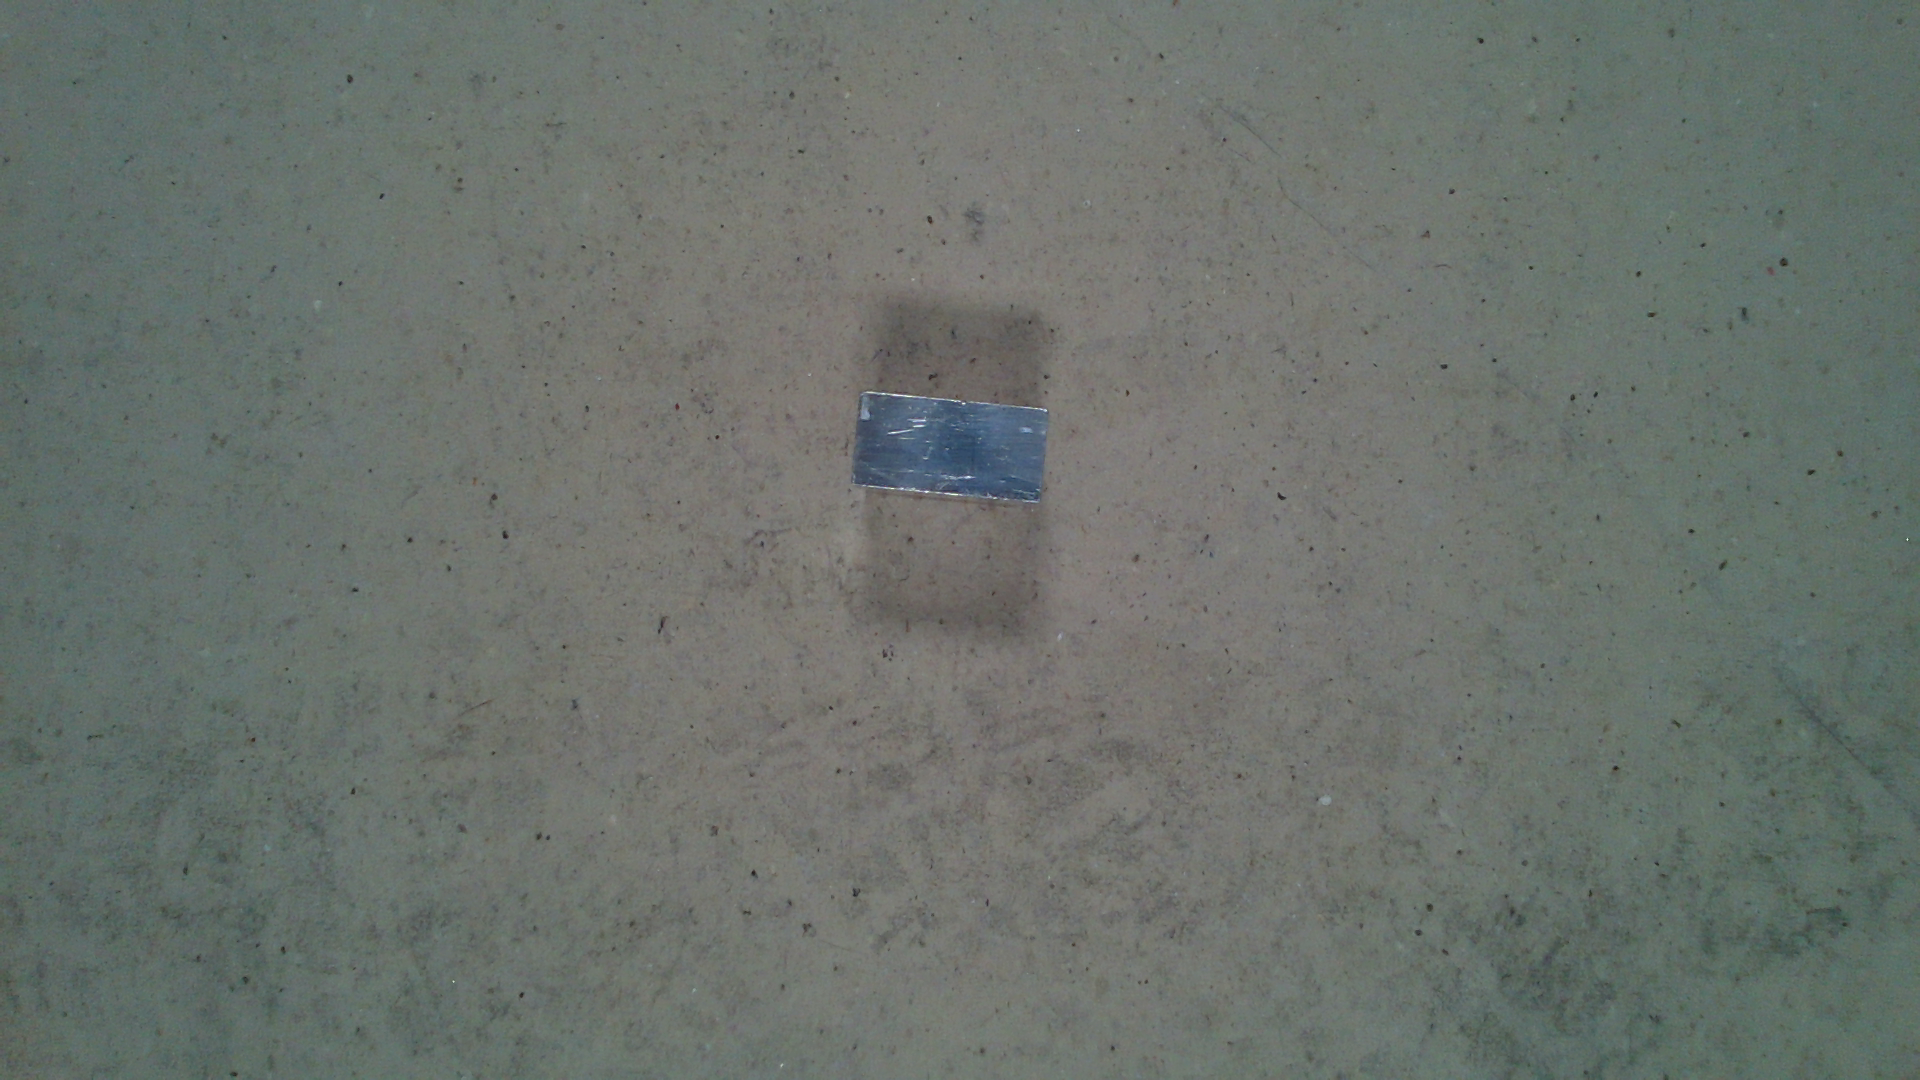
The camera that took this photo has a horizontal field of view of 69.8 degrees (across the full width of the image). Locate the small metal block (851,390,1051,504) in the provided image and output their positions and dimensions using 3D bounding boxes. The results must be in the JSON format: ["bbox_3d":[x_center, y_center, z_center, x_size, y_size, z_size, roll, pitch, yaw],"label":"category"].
[{"bbox_3d":[-0.002,-0.024,0.382,0.050,0.050,0.025,5,90,0],"label":"small metal block"}]
